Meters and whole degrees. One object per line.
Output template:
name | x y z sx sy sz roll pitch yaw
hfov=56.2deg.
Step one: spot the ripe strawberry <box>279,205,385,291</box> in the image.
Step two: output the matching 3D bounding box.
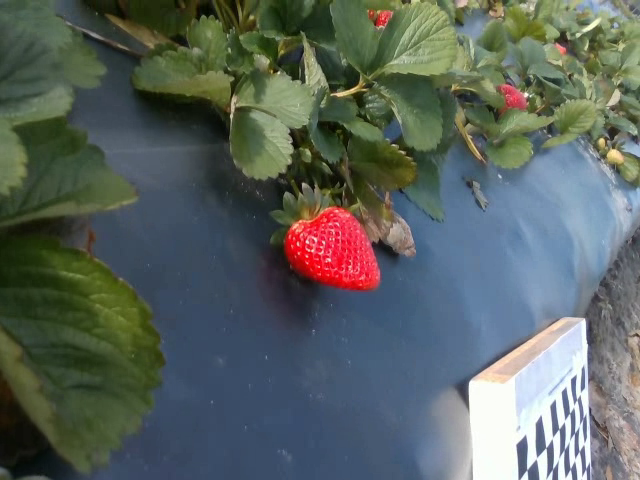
ripe strawberry | 0.009 0.007 0.288 0.057 0.051 0.045 45 22 27
